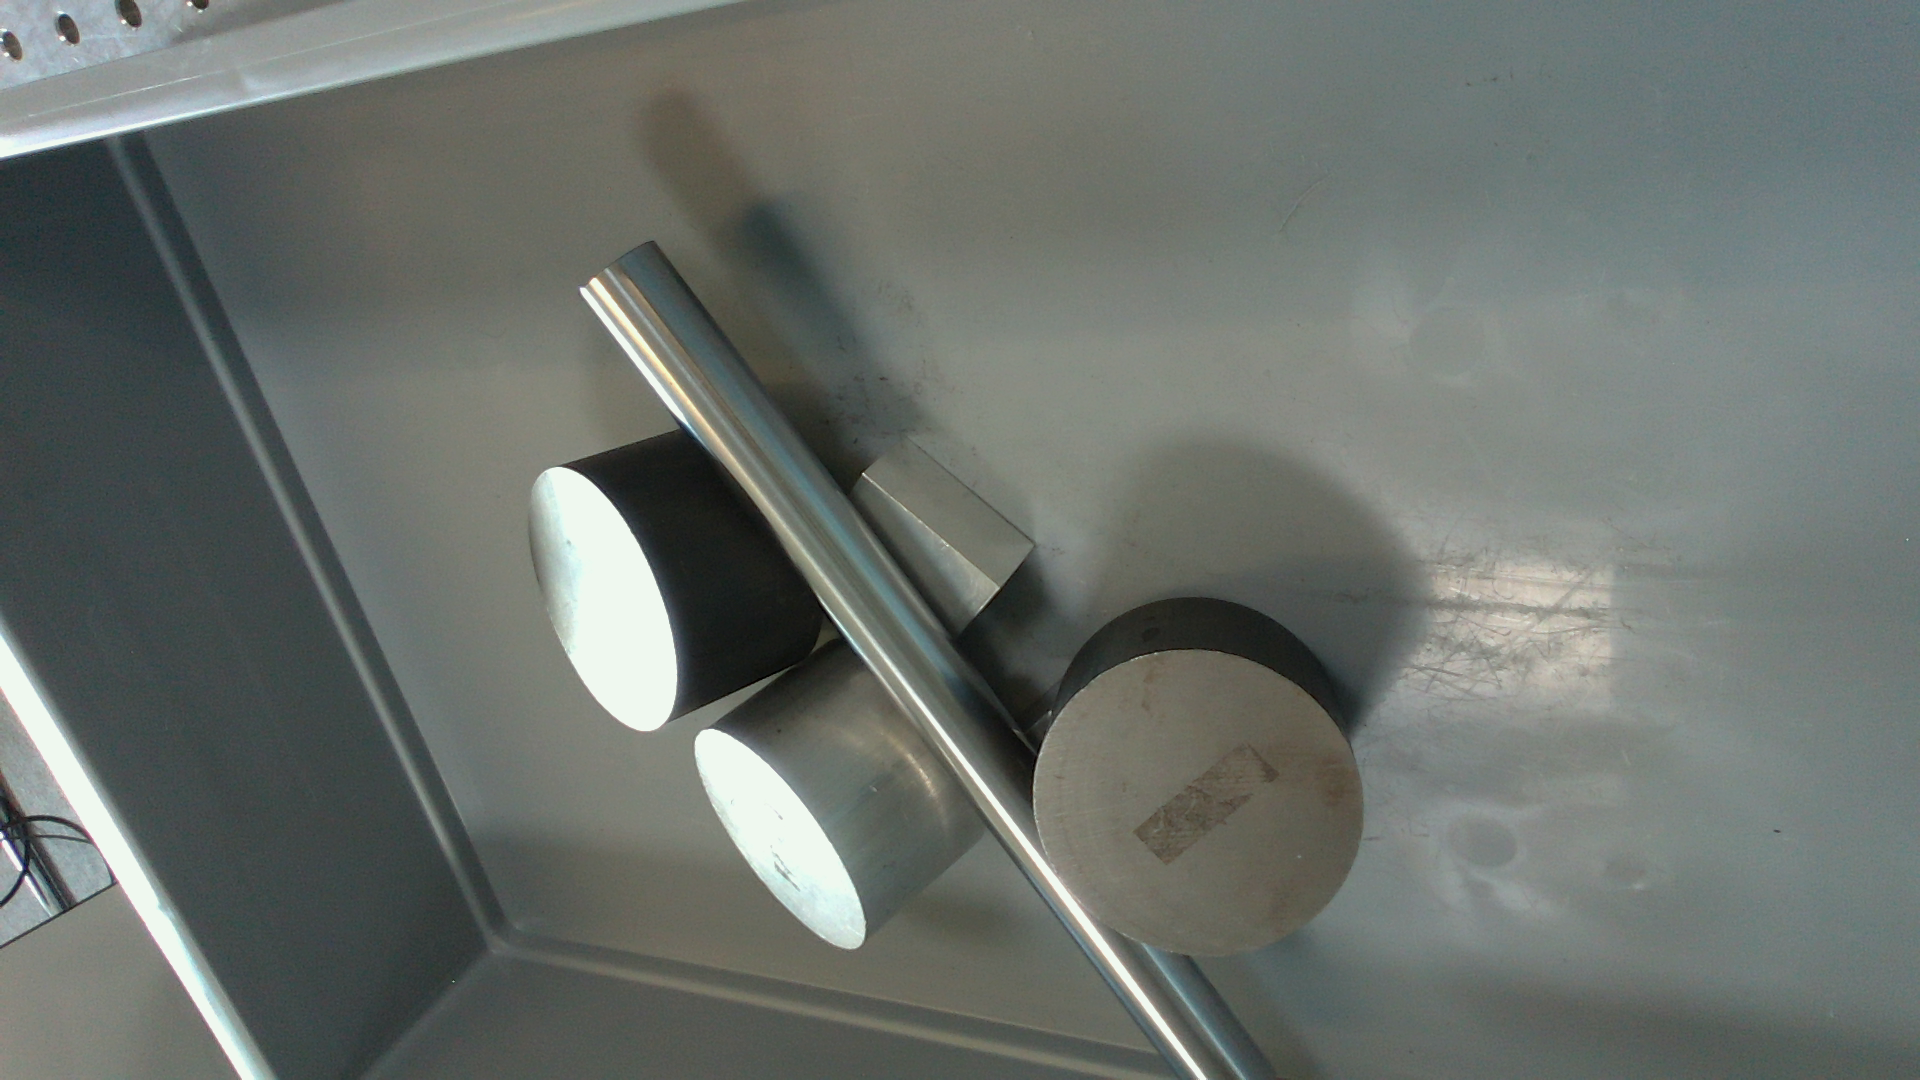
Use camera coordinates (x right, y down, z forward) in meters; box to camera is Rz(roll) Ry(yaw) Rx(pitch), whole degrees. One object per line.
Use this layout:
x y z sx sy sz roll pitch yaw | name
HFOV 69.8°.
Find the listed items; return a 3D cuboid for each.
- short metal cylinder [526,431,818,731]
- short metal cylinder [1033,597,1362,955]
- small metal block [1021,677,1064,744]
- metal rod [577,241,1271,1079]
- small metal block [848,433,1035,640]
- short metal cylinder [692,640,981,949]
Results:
-0.086 0.010 0.410 0.080 0.050 0.080 26 127 40 | short metal cylinder
0.062 0.060 0.362 0.080 0.050 0.080 2 103 9 | short metal cylinder
0.036 0.074 0.418 0.050 0.025 0.050 42 129 -1 | small metal block
-0.004 0.048 0.390 0.025 0.025 0.300 -28 103 38 | metal rod
-0.015 0.006 0.403 0.050 0.025 0.050 40 129 1 | small metal block
-0.038 0.078 0.426 0.080 0.050 0.080 35 145 30 | short metal cylinder
